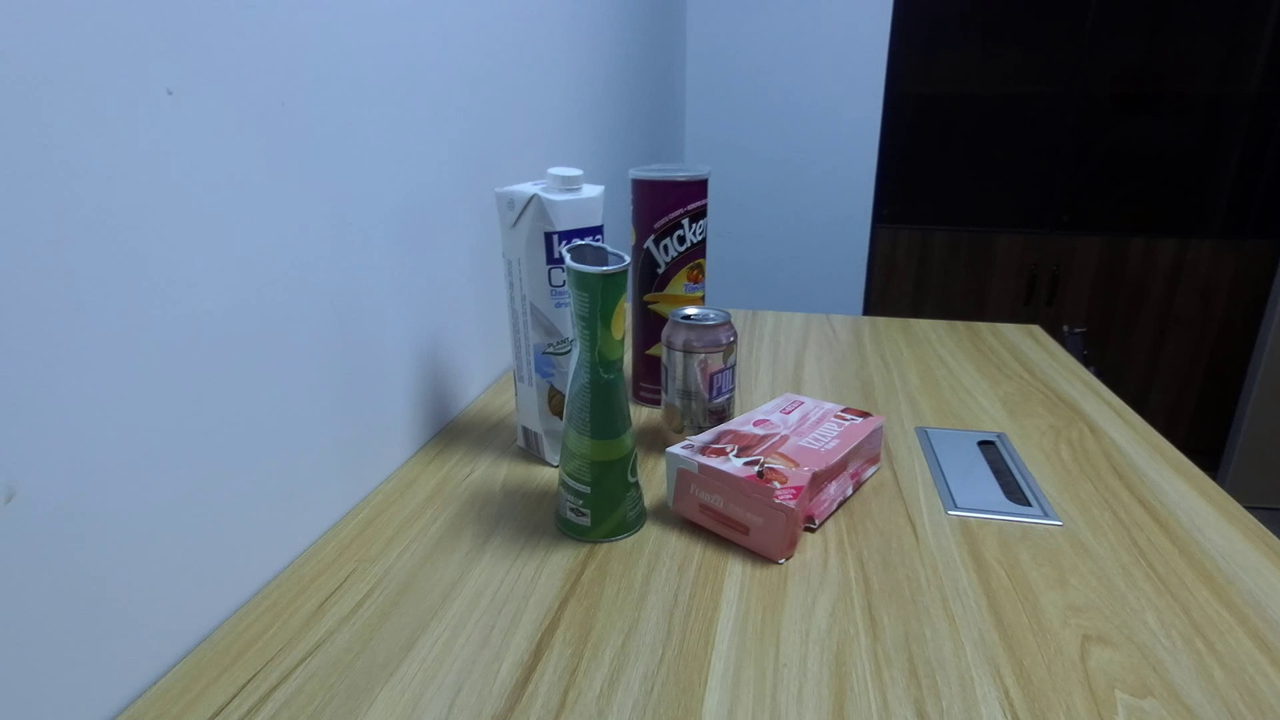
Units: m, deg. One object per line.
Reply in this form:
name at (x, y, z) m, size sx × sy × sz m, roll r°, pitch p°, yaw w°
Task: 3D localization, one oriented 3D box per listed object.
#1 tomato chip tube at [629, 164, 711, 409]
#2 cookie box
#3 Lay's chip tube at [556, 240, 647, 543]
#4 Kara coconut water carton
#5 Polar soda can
tomato chip tube at (0.031, -0.072, 0.723) m, size 0.078 × 0.234 × 0.078 m, roll 0°, pitch 21°, yaw 0°
cookie box at (0.114, 0.077, 0.558) m, size 0.104 × 0.059 × 0.186 m, roll 16°, pitch 24°, yaw 35°
Lay's chip tube at (-0.030, 0.025, 0.498) m, size 0.074 × 0.199 × 0.069 m, roll 14°, pitch 25°, yaw 35°
Kara coconut water carton at (-0.070, -0.038, 0.607) m, size 0.077 × 0.245 × 0.075 m, roll -16°, pitch 24°, yaw -37°
Polar soda can at (0.053, 0.018, 0.633) m, size 0.067 × 0.125 × 0.067 m, roll 0°, pitch 19°, yaw 0°
